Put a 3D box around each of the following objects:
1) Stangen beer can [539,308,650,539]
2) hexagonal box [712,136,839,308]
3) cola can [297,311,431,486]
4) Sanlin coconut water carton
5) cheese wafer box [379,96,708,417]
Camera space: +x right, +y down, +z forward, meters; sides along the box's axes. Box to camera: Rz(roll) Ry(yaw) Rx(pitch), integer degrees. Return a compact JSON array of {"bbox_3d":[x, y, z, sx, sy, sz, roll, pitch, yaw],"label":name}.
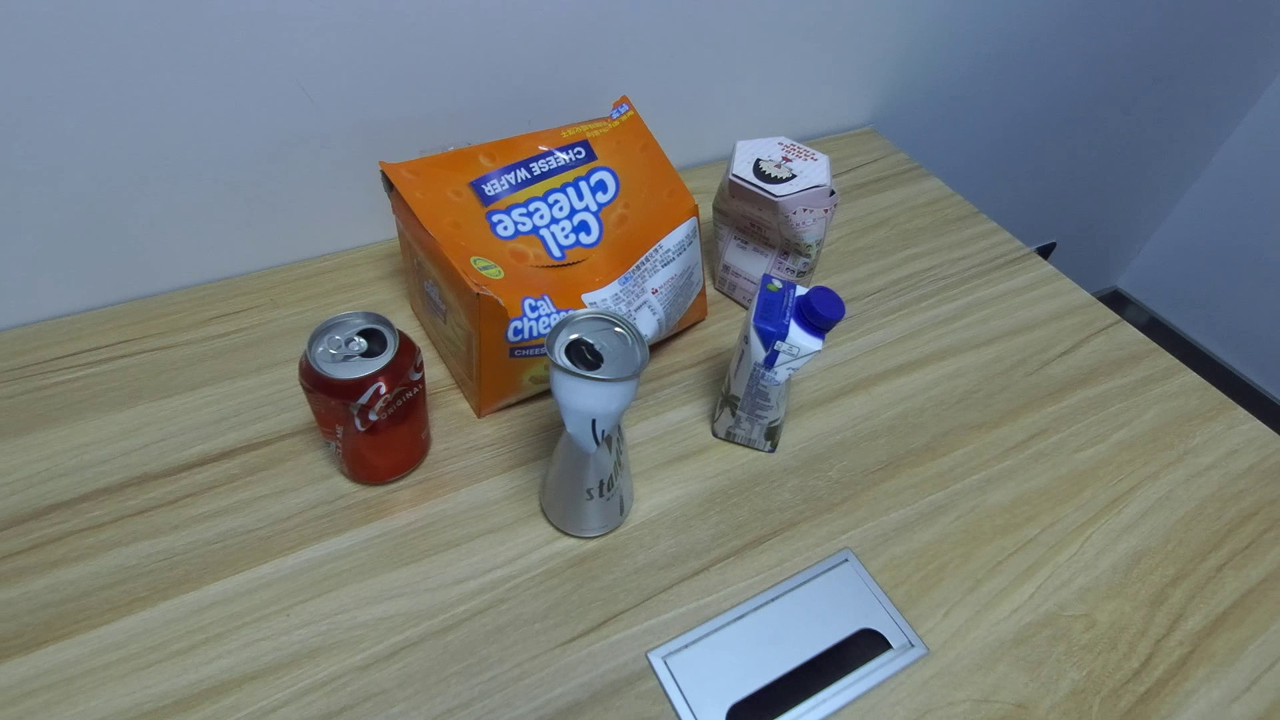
[{"bbox_3d":[-0.029,0.045,0.439,0.066,0.162,0.077,-25,56,-25],"label":"Stangen beer can"},{"bbox_3d":[0.112,-0.111,0.611,0.090,0.134,0.091,-6,49,-7],"label":"hexagonal box"},{"bbox_3d":[-0.181,0.027,0.470,0.066,0.117,0.066,16,49,7],"label":"cola can"},{"bbox_3d":[0.094,0.003,0.500,0.058,0.142,0.078,18,48,3],"label":"Sanlin coconut water carton"},{"bbox_3d":[-0.057,-0.082,0.560,0.219,0.145,0.190,-24,54,-24],"label":"cheese wafer box"}]
